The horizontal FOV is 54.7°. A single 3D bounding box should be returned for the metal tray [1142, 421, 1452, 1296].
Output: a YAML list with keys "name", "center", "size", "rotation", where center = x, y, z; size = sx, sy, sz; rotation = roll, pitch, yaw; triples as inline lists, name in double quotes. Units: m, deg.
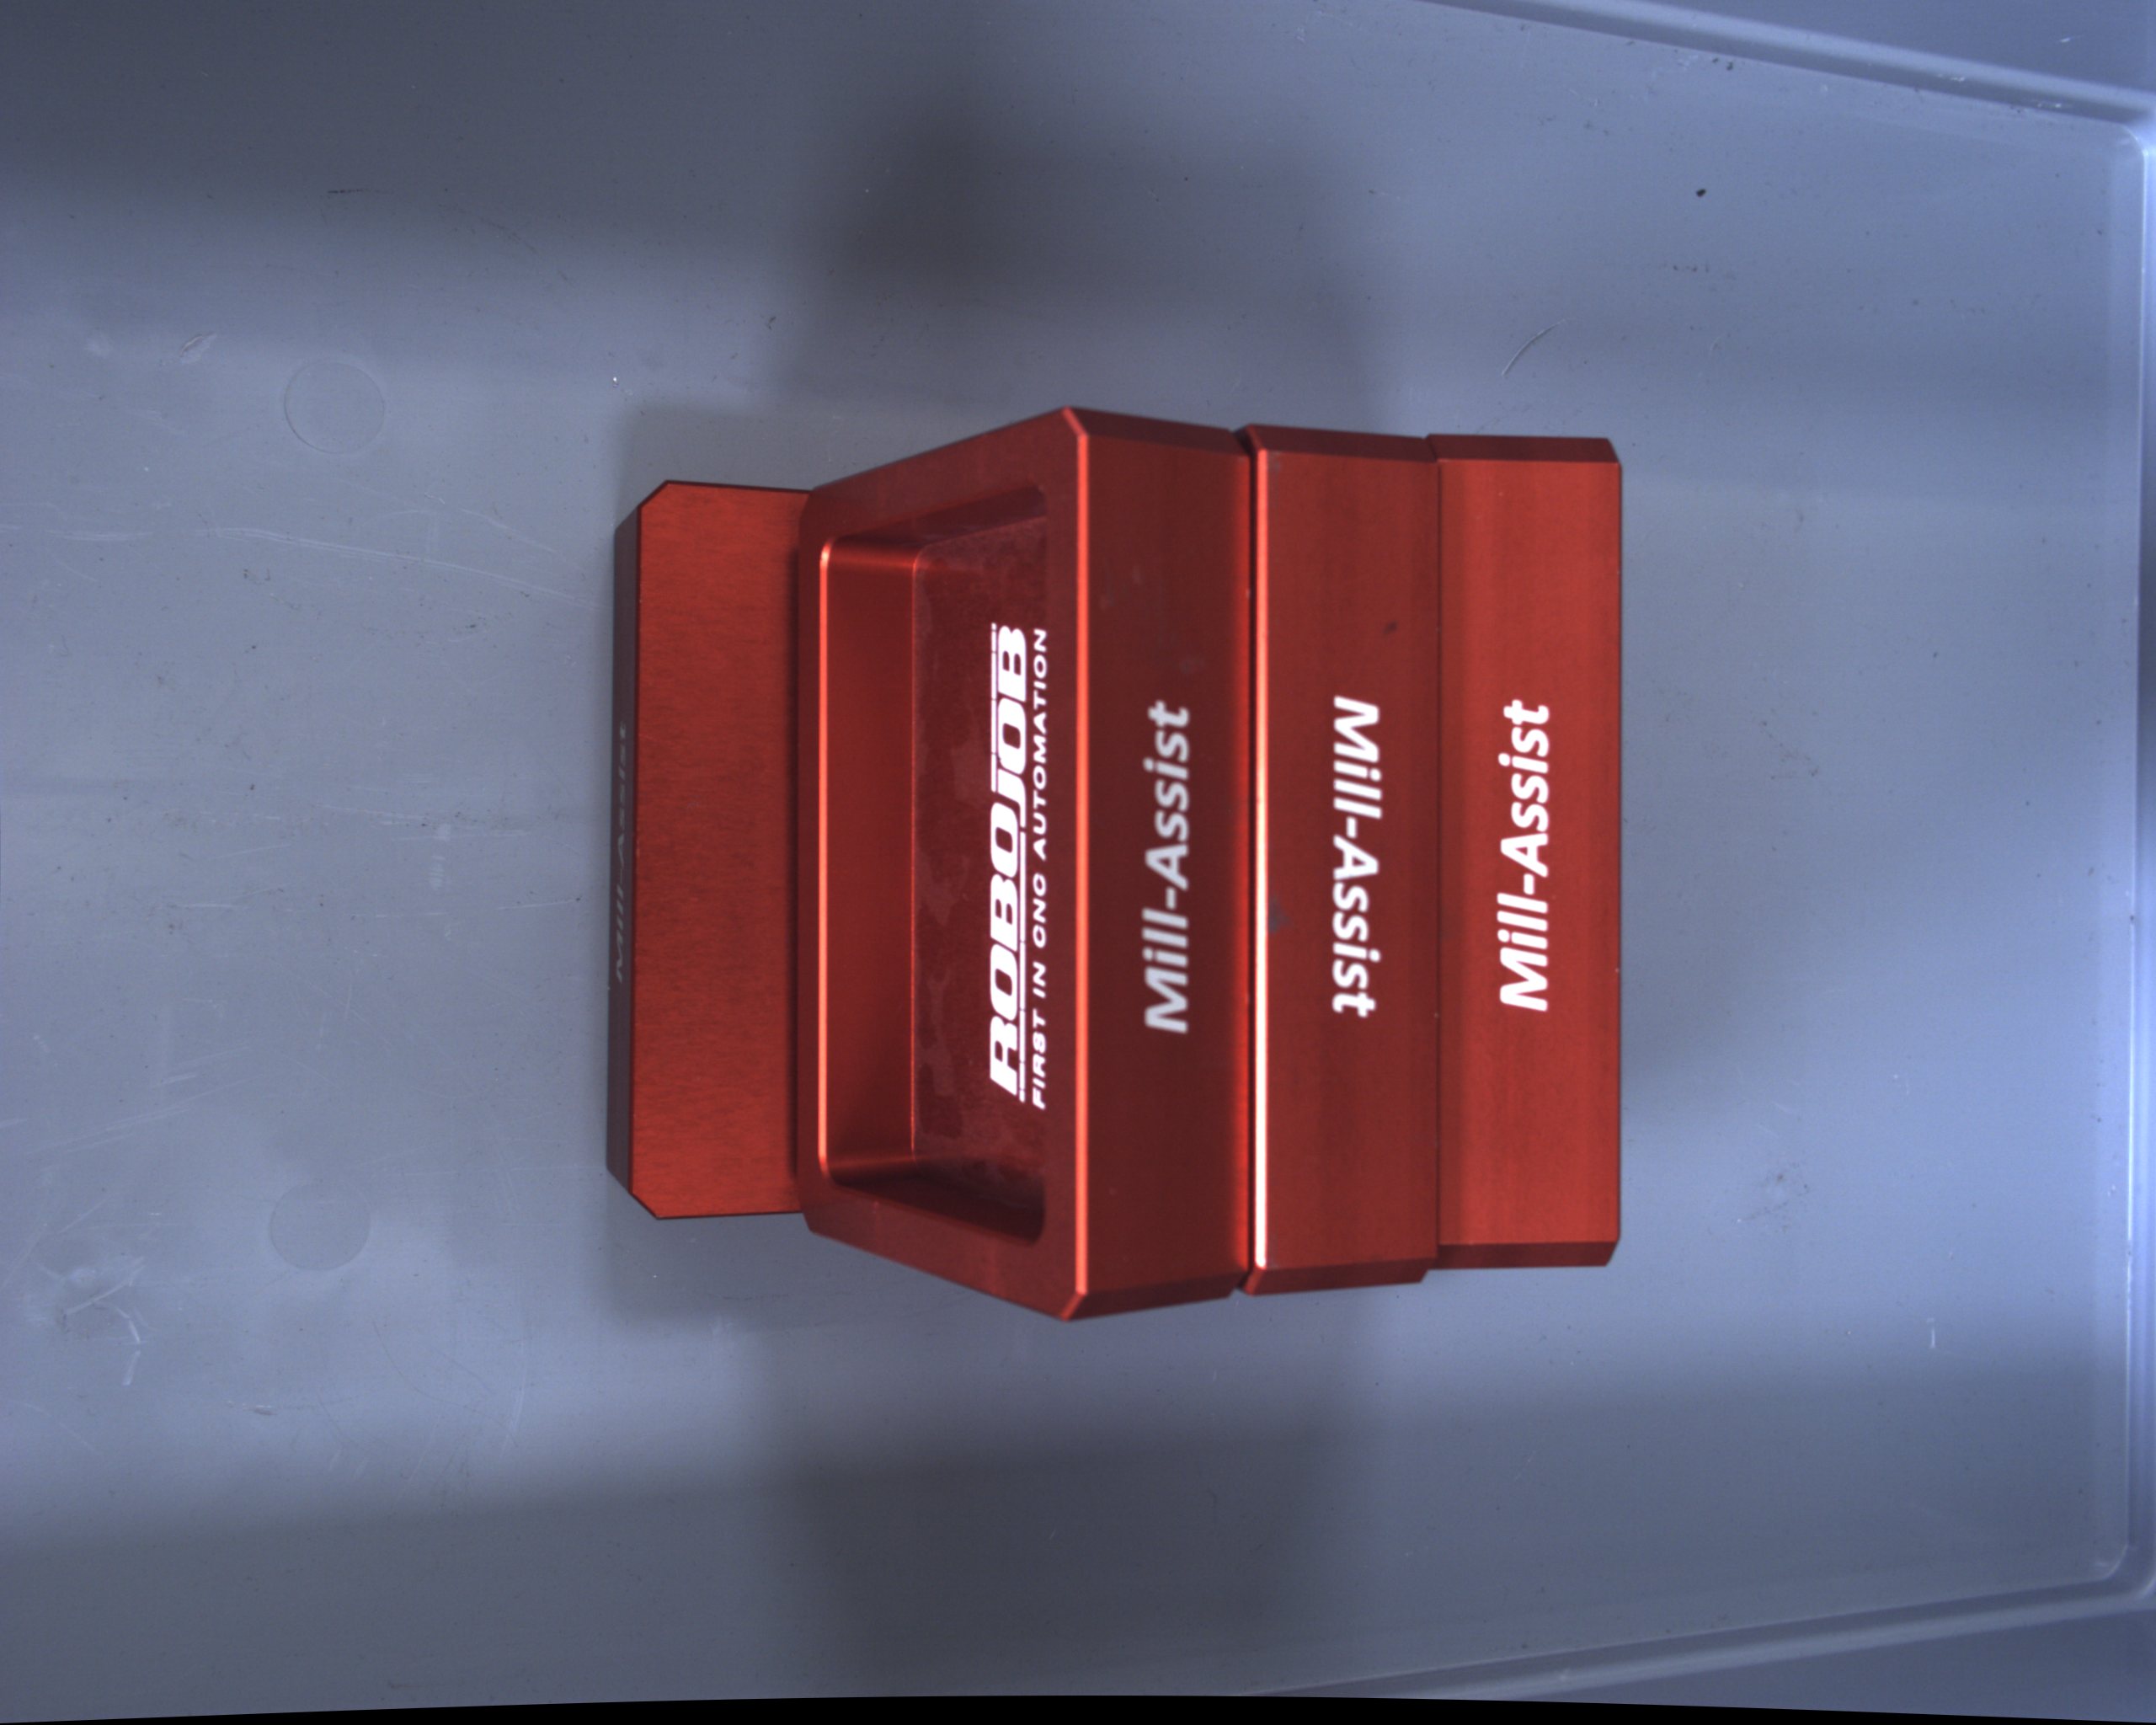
- name: "metal tray"
  center: [0.026, 0.000, 0.350]
  size: [0.030, 0.090, 0.129]
  rotation: [0, 88, -20]

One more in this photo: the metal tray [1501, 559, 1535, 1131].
- name: "metal tray"
  center: [0.045, 0.000, 0.423]
  size: [0.091, 0.030, 0.129]
  rotation: [1, 90, -20]

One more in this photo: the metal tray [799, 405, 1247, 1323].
- name: "metal tray"
  center: [-0.012, 0.000, 0.335]
  size: [0.030, 0.090, 0.129]
  rotation: [0, 90, -33]

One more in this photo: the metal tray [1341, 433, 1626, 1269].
- name: "metal tray"
  center: [0.065, -0.002, 0.363]
  size: [0.030, 0.090, 0.129]
  rotation: [0, 90, -6]

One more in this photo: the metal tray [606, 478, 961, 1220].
- name: "metal tray"
  center: [-0.040, -0.002, 0.390]
  size: [0.091, 0.030, 0.129]
  rotation: [1, 90, -20]
